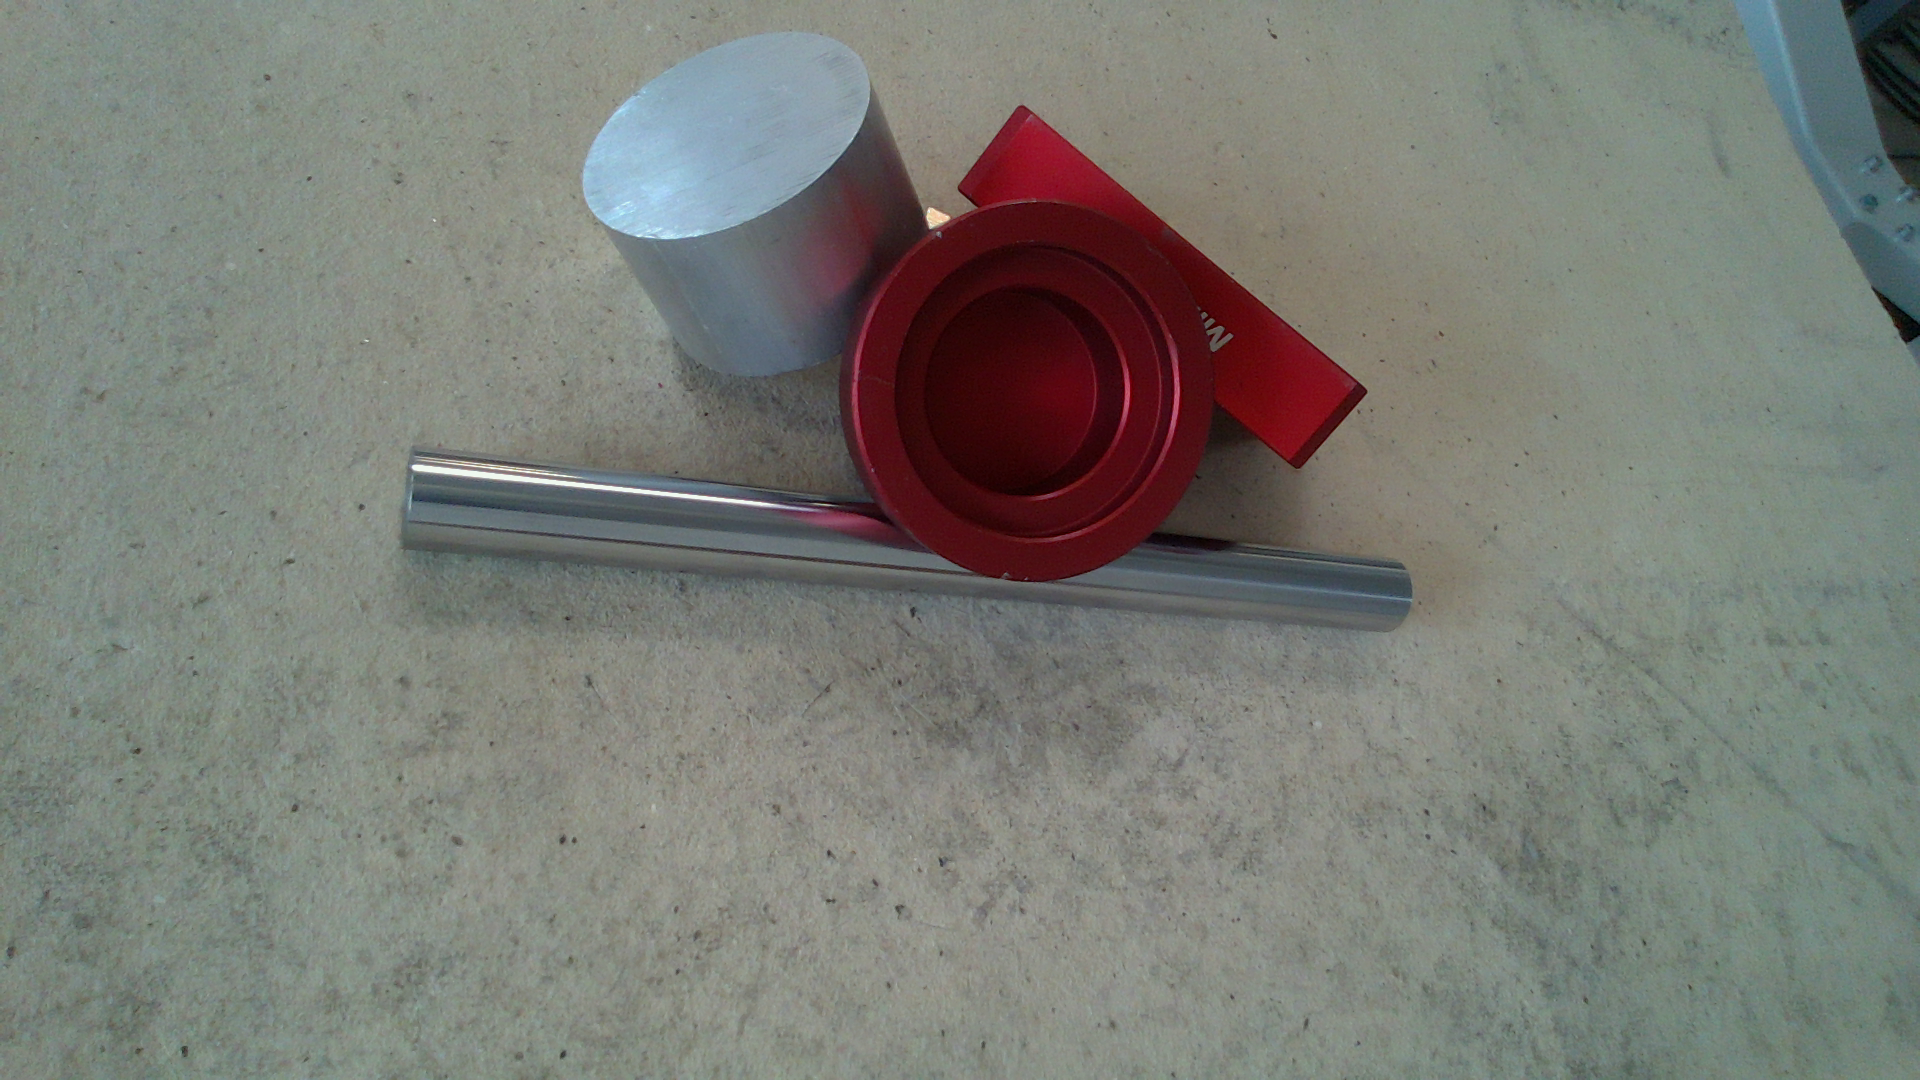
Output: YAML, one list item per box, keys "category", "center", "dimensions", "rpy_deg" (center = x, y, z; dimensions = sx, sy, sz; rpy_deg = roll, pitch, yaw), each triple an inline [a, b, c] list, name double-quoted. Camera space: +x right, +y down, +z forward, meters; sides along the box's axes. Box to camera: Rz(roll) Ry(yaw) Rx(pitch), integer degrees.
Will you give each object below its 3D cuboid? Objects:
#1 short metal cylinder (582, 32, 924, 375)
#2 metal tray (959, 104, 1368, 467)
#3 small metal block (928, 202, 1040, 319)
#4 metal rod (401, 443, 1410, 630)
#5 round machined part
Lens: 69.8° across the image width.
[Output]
- category: "short metal cylinder"
  center: [-0.054, -0.092, 0.376]
  dimensions: [0.080, 0.050, 0.080]
  rpy_deg: [-10, 52, 13]
- category: "metal tray"
  center: [0.063, -0.081, 0.437]
  dimensions: [0.130, 0.030, 0.090]
  rpy_deg: [39, 12, -2]
- category: "small metal block"
  center: [0.001, -0.066, 0.413]
  dimensions: [0.050, 0.050, 0.025]
  rpy_deg: [22, 53, -15]
- category: "metal rod"
  center: [0.004, 0.003, 0.390]
  dimensions: [0.301, 0.025, 0.025]
  rpy_deg: [6, 59, -25]
- category: "round machined part"
  center: [0.015, -0.040, 0.372]
  dimensions: [0.098, 0.042, 0.098]
  rpy_deg: [-2, 97, -16]
